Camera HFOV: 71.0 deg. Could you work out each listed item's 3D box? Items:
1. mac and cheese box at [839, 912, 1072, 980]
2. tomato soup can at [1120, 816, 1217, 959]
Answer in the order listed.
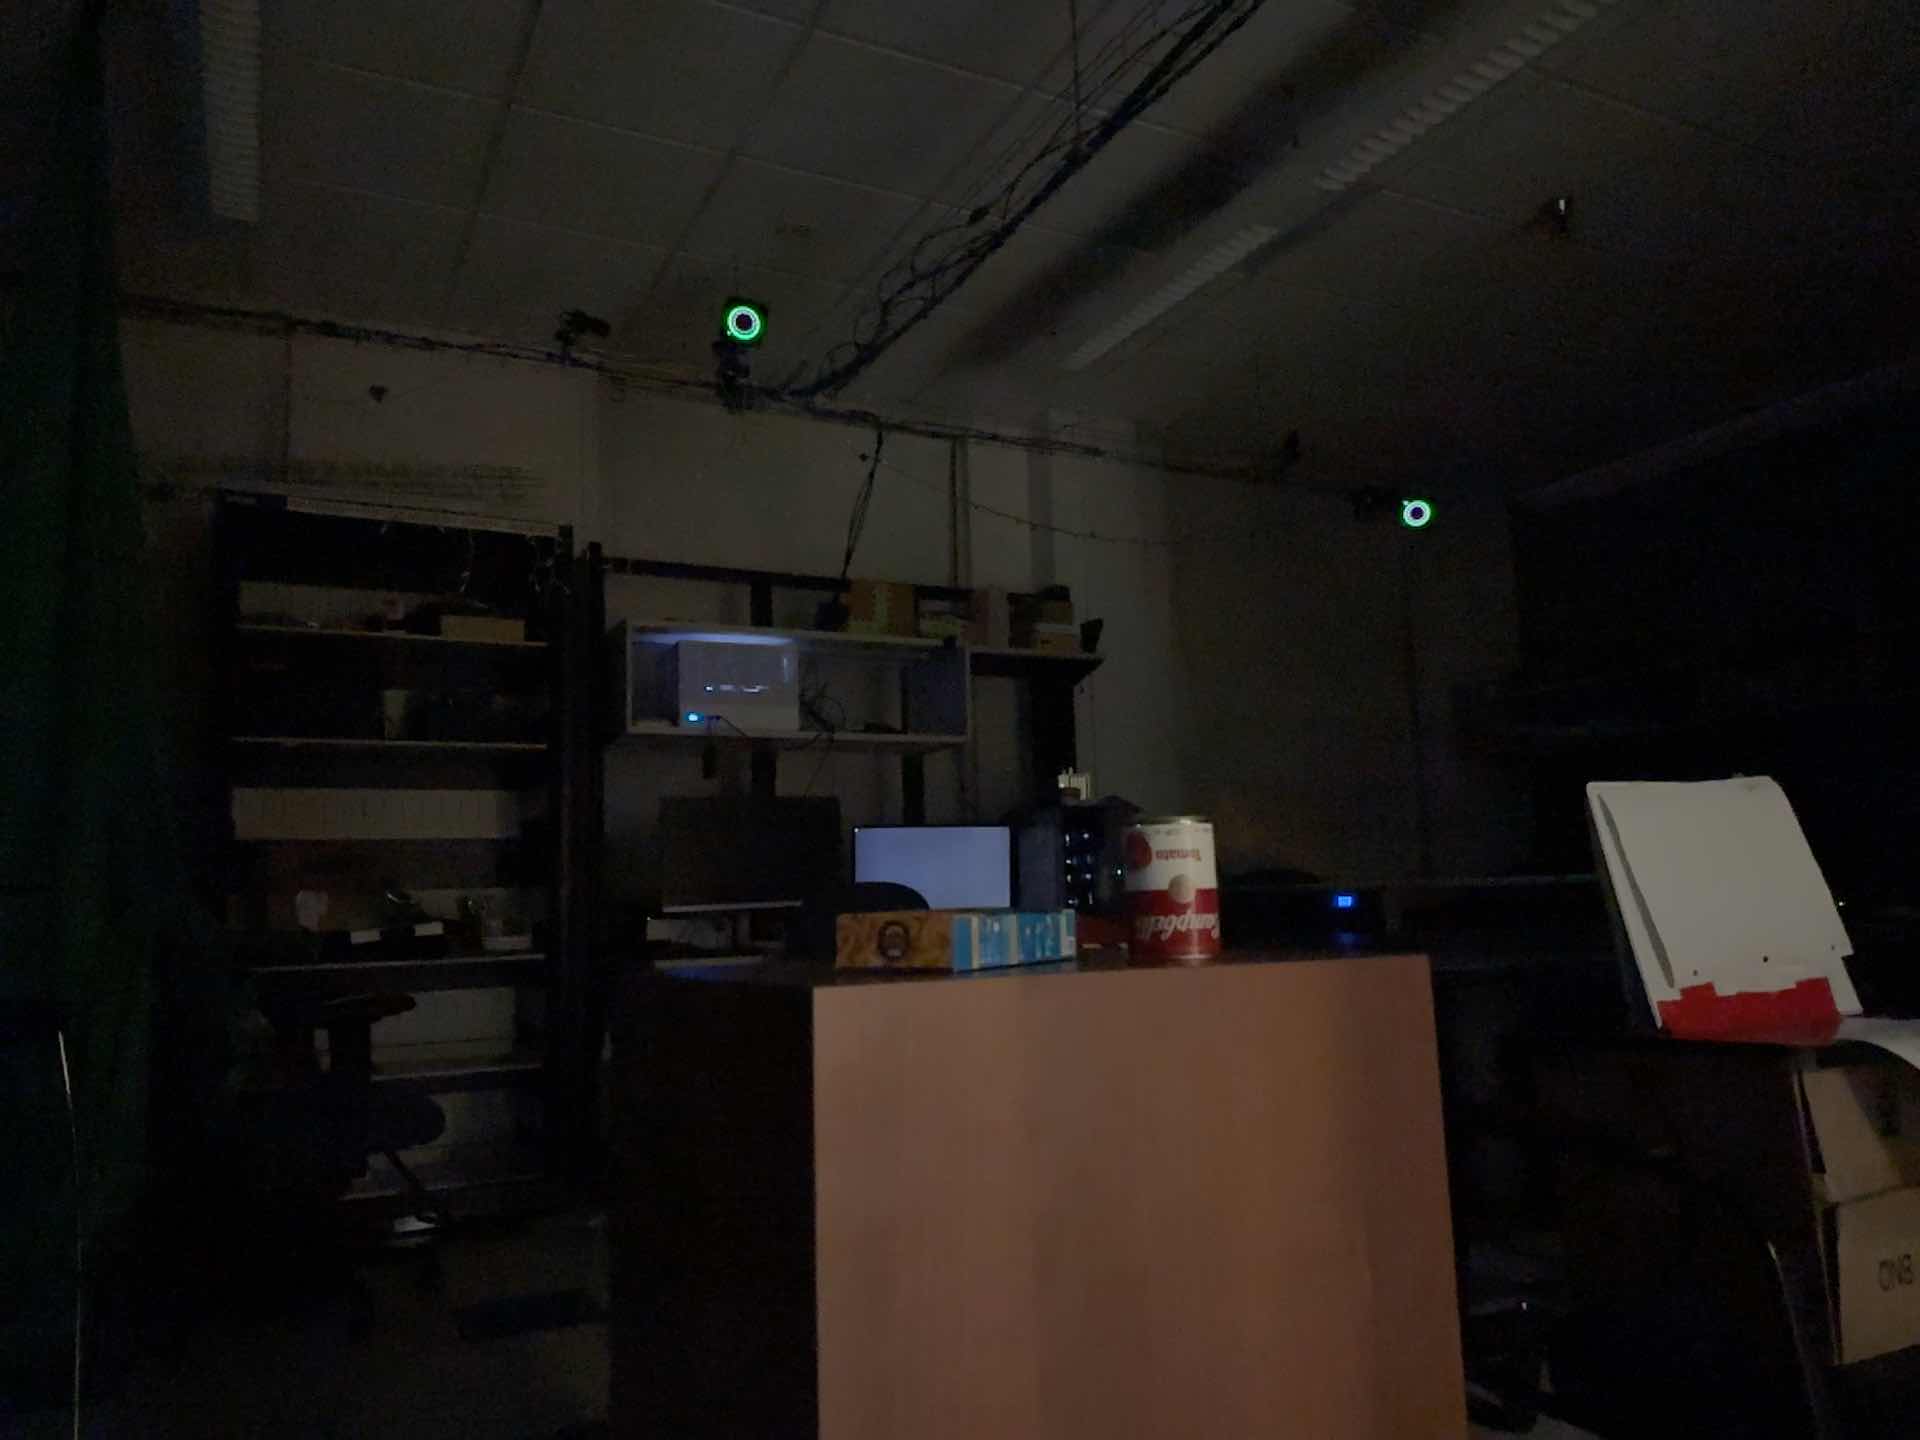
[{"bbox_3d":[0.002,0.156,0.944,0.088,0.035,0.181,-3,-7,27],"label":"mac and cheese box"},{"bbox_3d":[0.153,0.122,0.992,0.067,0.102,0.067,-1,-5,0],"label":"tomato soup can"}]
